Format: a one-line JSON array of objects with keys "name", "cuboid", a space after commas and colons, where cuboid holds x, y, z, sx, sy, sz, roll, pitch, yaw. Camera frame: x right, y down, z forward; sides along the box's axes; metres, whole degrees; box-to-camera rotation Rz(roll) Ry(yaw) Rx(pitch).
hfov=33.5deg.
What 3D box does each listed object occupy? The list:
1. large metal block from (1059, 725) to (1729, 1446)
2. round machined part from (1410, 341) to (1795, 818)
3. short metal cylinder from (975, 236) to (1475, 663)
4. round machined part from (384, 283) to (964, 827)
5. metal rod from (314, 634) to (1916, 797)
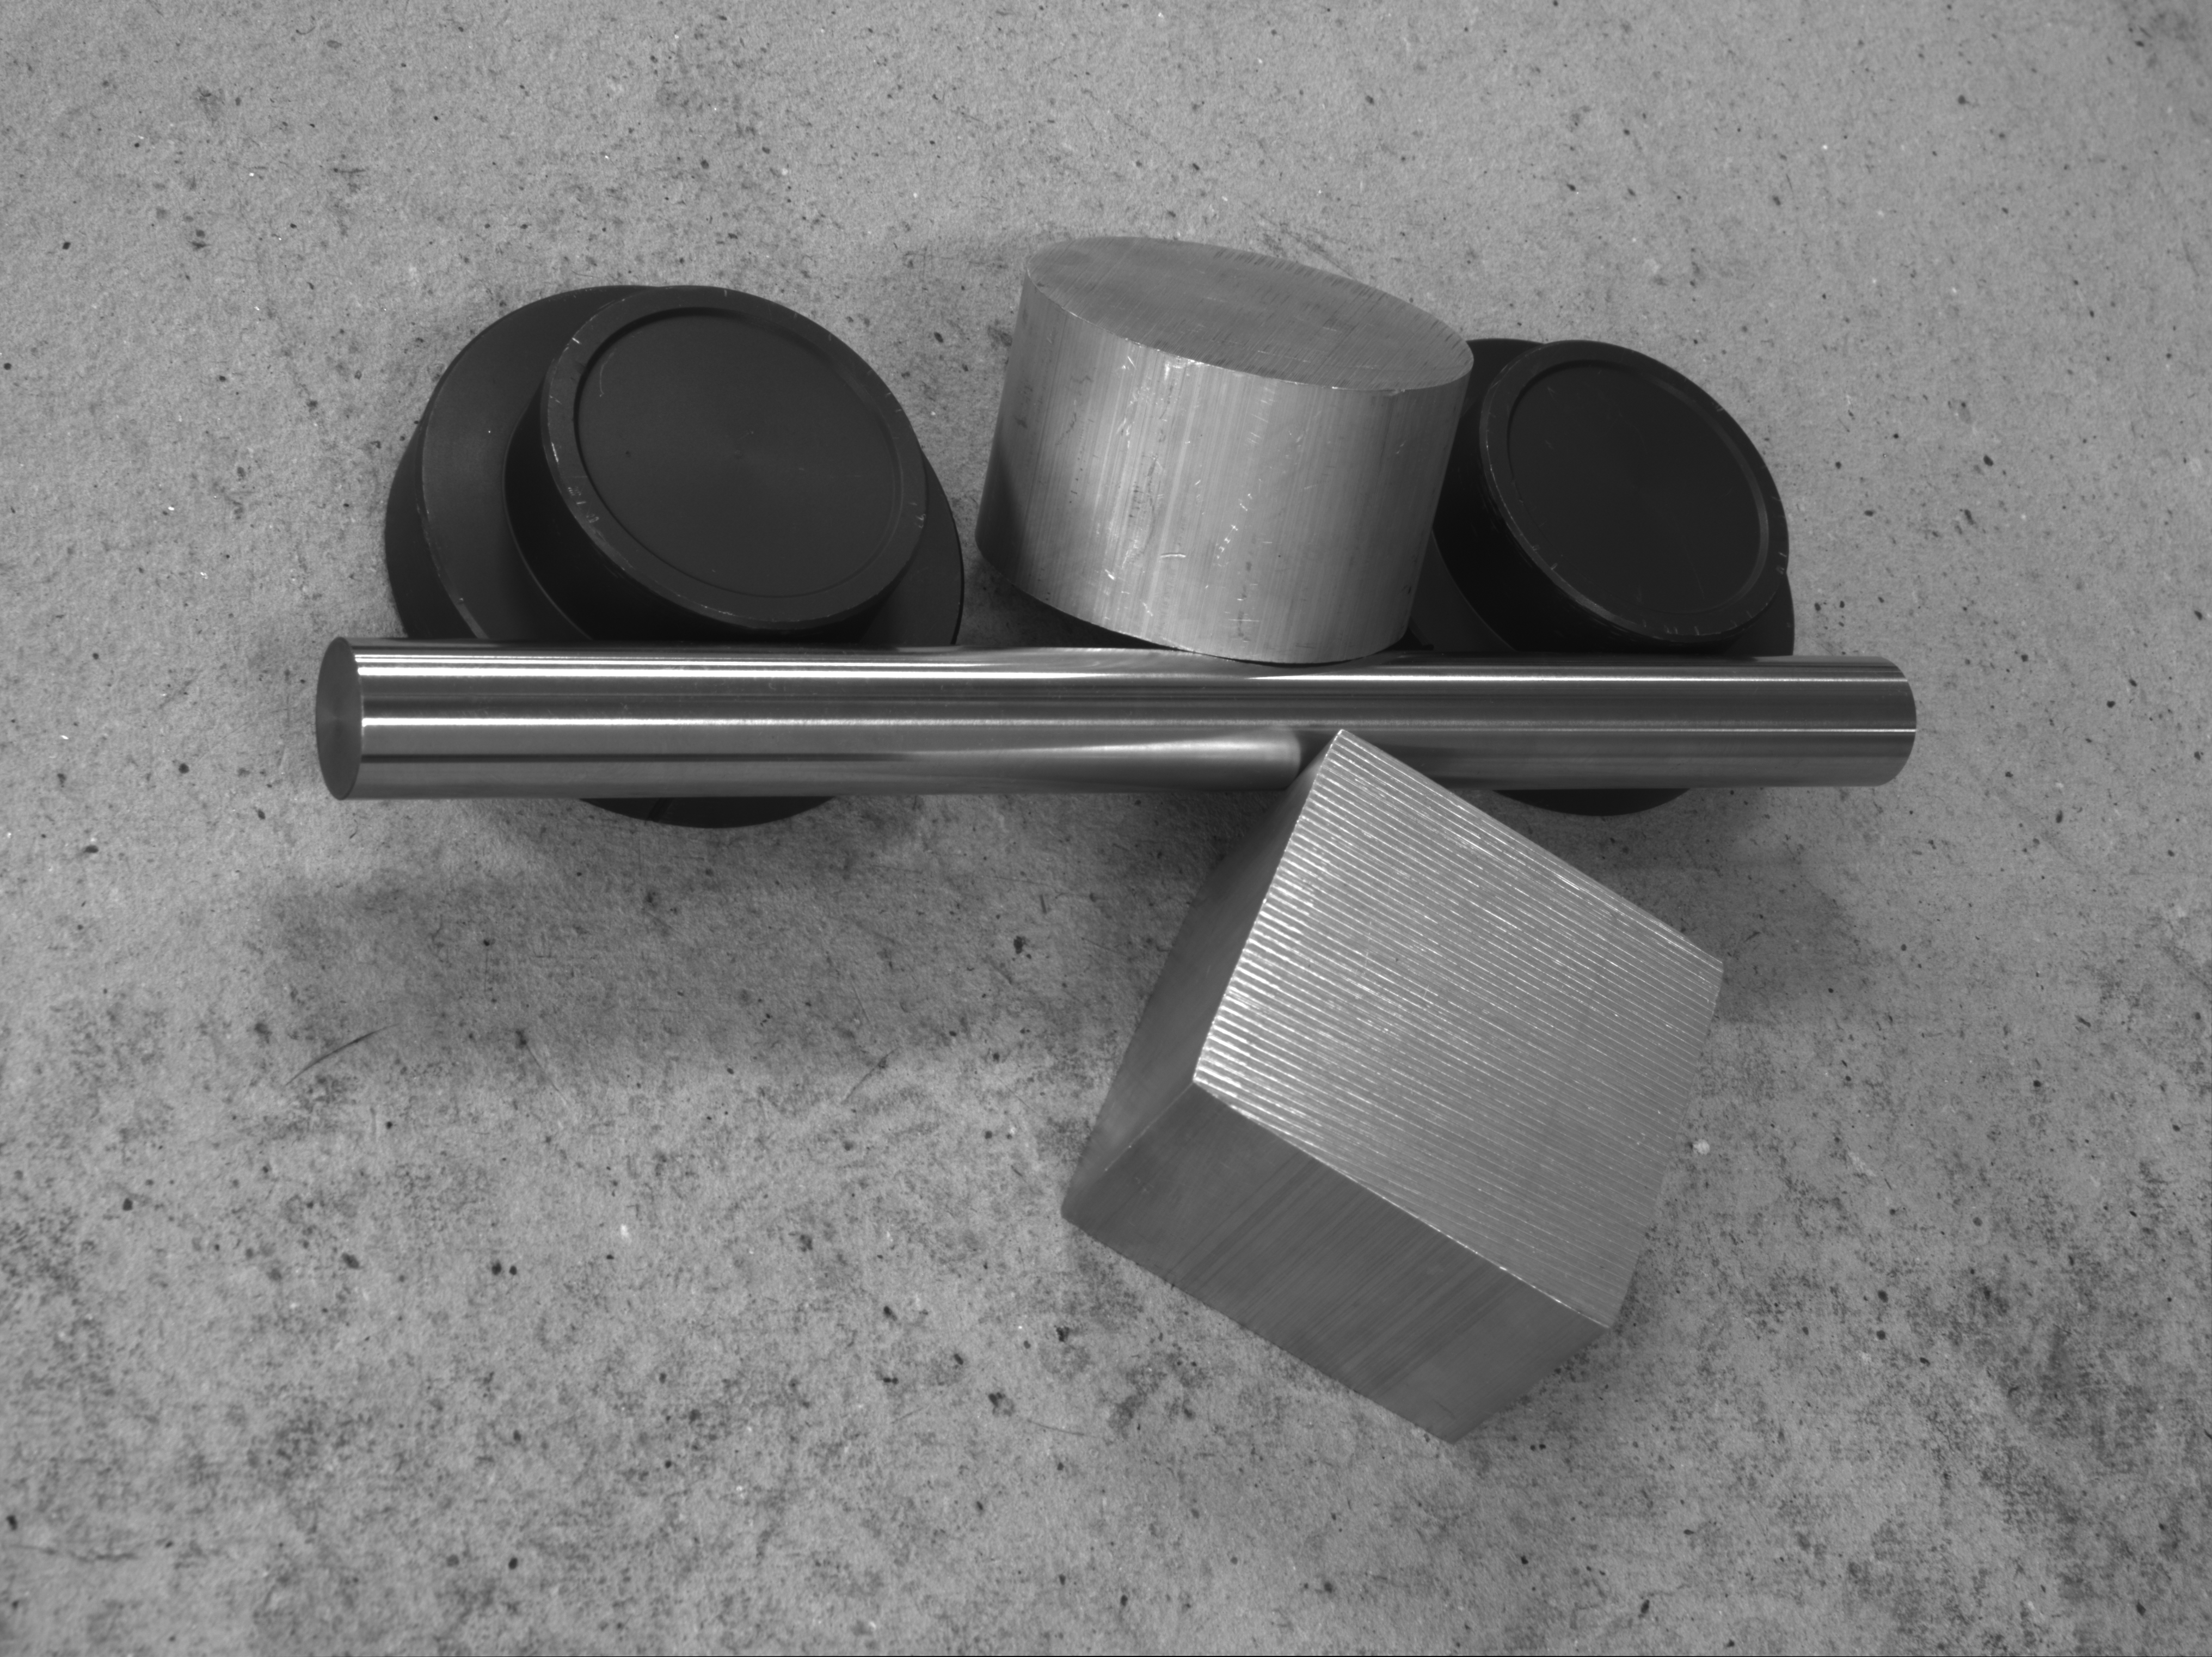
[{"name": "large metal block", "cuboid": [0.050, 0.044, 0.621, 0.080, 0.050, 0.080, 31, 52, -8]}, {"name": "round machined part", "cuboid": [0.092, -0.055, 0.712, 0.098, 0.042, 0.098, 13, 56, -21]}, {"name": "short metal cylinder", "cuboid": [0.021, -0.068, 0.653, 0.080, 0.050, 0.080, 11, 23, -4]}, {"name": "round machined part", "cuboid": [-0.069, -0.053, 0.623, 0.098, 0.042, 0.098, 13, 56, -21]}, {"name": "metal rod", "cuboid": [0.015, -0.019, 0.632, 0.301, 0.025, 0.025, -1, 62, -29]}]
